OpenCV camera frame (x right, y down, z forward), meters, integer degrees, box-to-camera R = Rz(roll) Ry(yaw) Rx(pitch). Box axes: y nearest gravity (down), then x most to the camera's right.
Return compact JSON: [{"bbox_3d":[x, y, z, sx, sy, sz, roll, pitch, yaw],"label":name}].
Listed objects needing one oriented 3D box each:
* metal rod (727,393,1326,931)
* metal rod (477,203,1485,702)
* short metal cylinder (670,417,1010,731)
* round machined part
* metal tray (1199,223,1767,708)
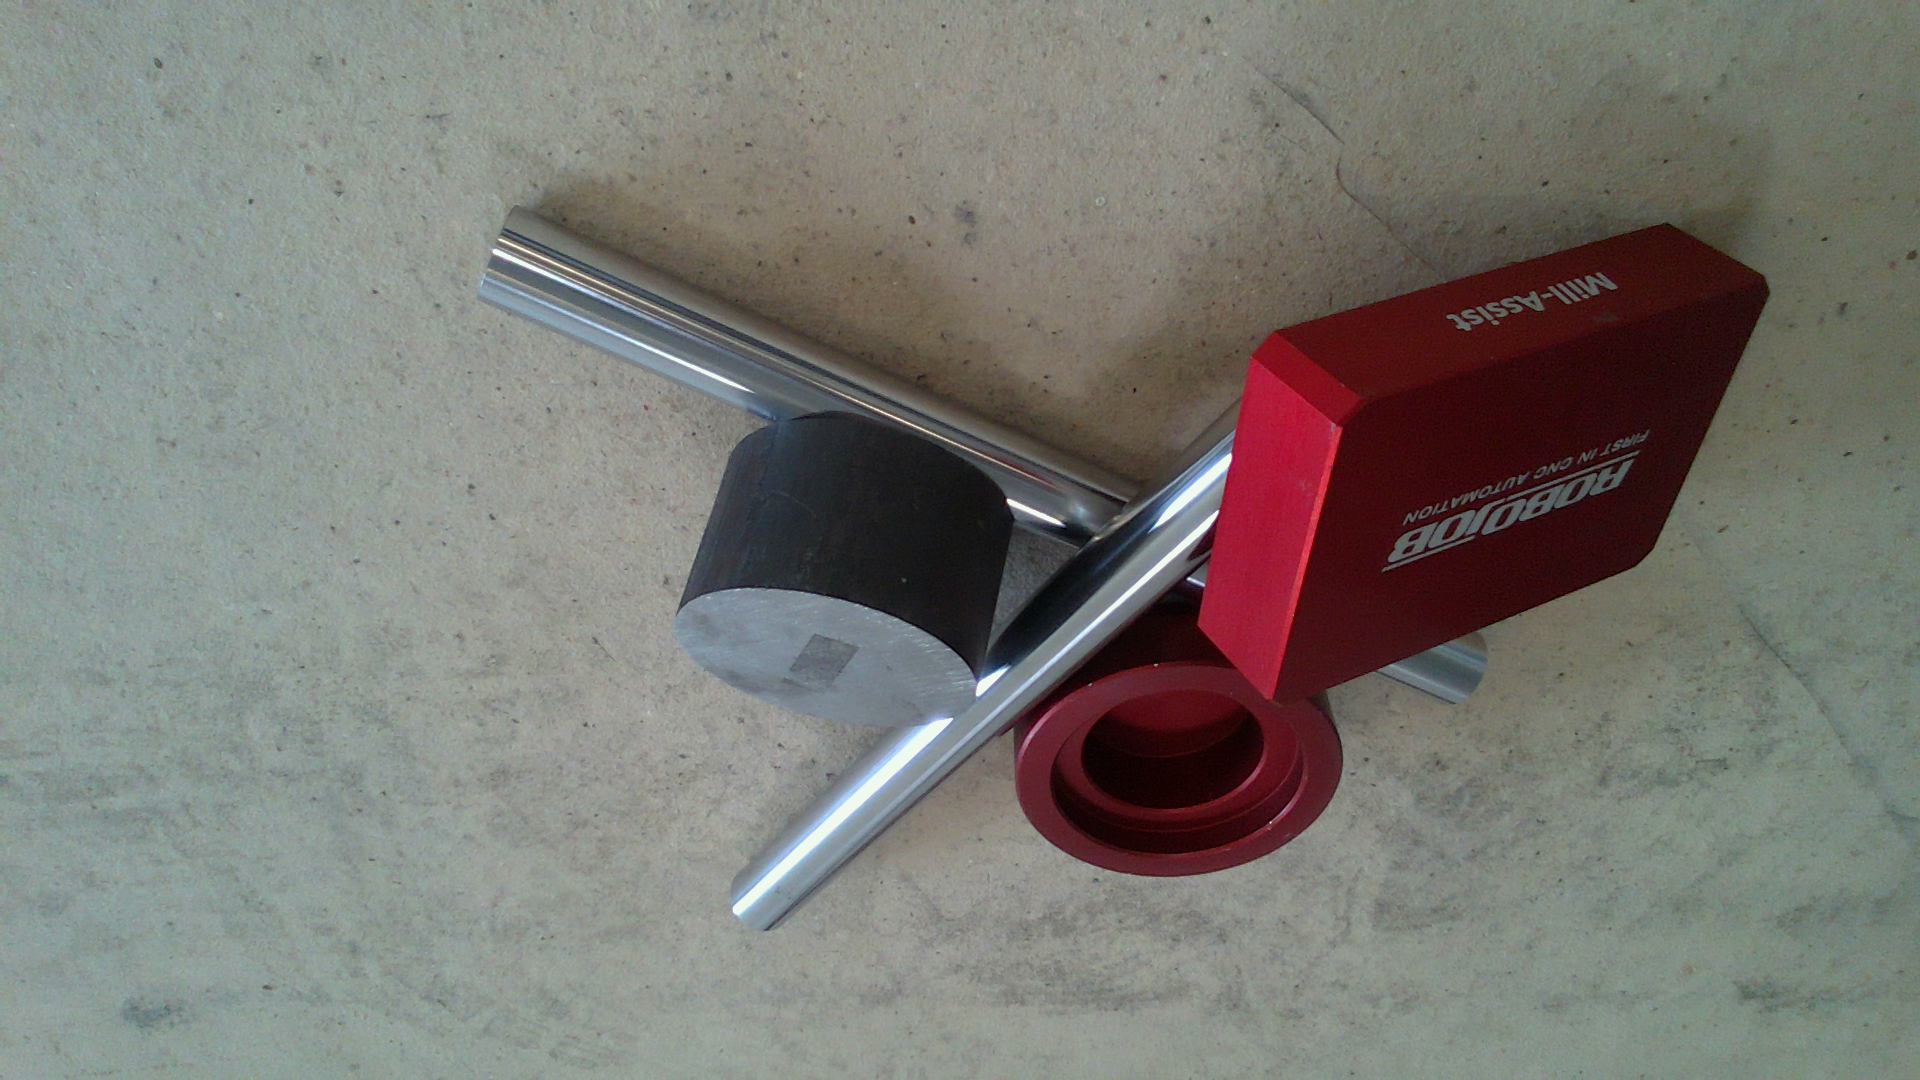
[{"bbox_3d":[0.007,0.046,0.406,0.025,0.025,0.299,26,132,-20],"label":"metal rod"},{"bbox_3d":[0.021,-0.016,0.379,0.301,0.025,0.025,22,127,-18],"label":"metal rod"},{"bbox_3d":[-0.031,0.011,0.367,0.080,0.050,0.080,10,151,6],"label":"short metal cylinder"},{"bbox_3d":[0.065,0.059,0.429,0.098,0.042,0.098,0,130,0],"label":"round machined part"},{"bbox_3d":[0.125,-0.019,0.335,0.130,0.030,0.090,-18,134,-22],"label":"metal tray"}]
